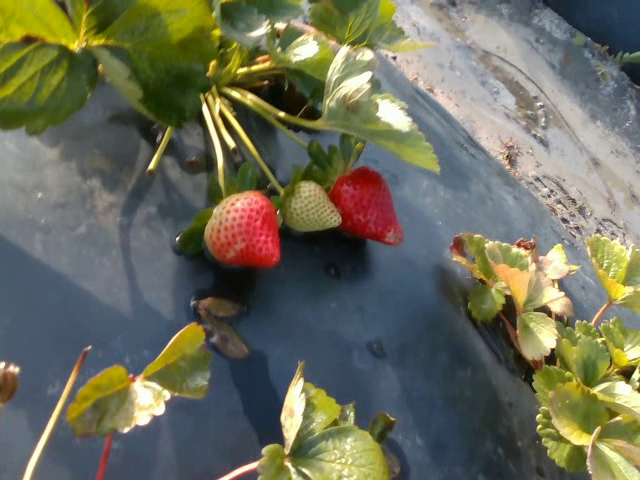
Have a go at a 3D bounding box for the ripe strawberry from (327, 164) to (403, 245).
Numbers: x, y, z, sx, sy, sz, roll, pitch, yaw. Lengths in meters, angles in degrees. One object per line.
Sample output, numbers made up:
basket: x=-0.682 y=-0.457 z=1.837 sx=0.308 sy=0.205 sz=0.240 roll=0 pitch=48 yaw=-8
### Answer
ripe strawberry: x=0.033 y=-0.018 z=0.385 sx=0.048 sy=0.065 sz=0.050 roll=-34 pitch=-5 yaw=-4
